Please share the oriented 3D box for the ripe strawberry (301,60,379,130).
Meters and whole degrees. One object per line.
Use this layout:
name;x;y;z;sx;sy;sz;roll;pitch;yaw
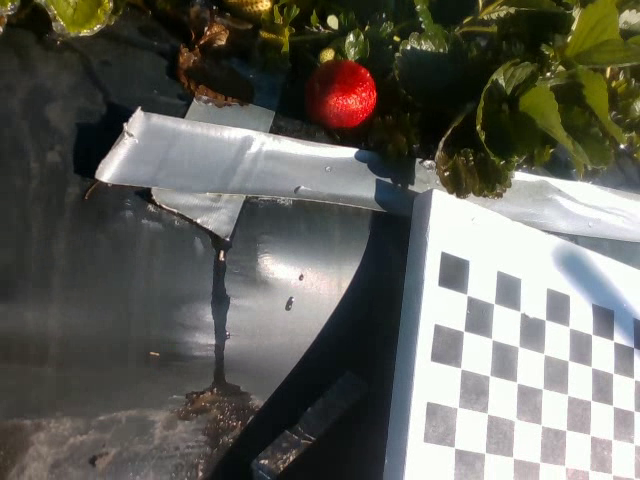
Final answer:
ripe strawberry;0.016;-0.093;0.404;0.057;0.062;0.065;-36;13;16
